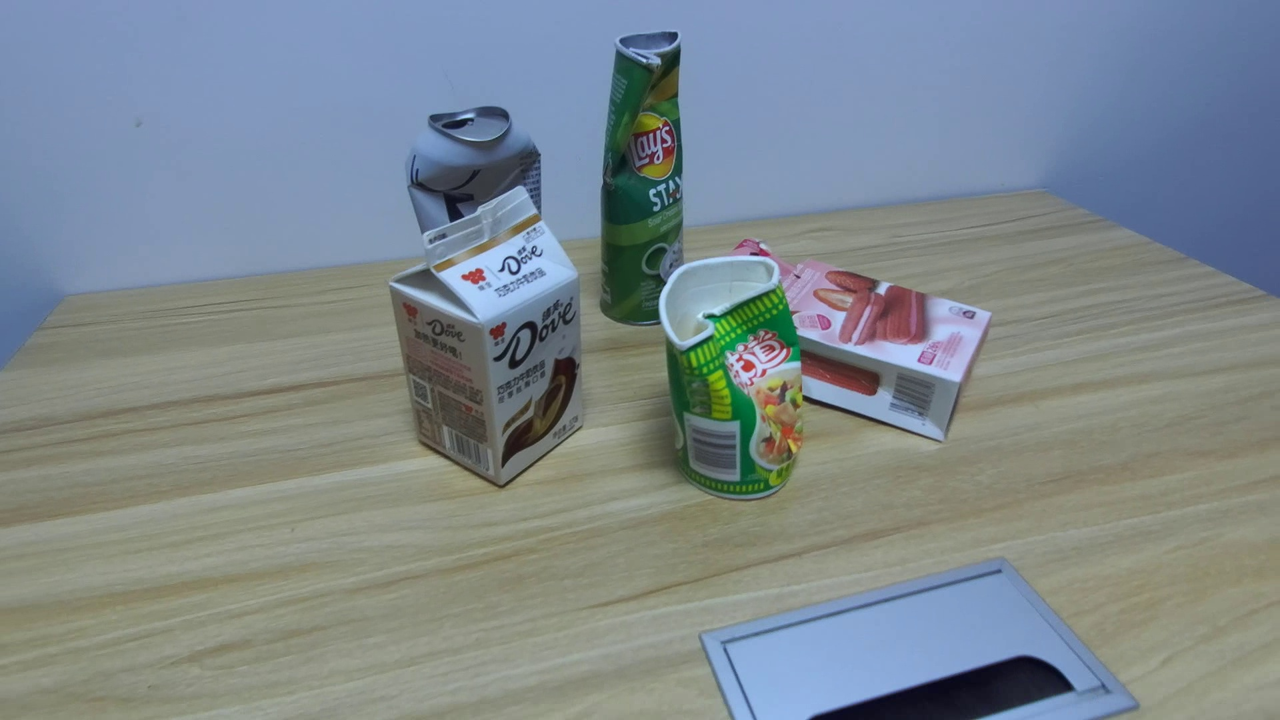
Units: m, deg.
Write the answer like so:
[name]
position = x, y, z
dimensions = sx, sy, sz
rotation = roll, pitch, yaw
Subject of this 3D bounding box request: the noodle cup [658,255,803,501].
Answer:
[noodle cup]
position = 0.053, 0.011, 0.381
dimensions = 0.083, 0.122, 0.075
rotation = -21, 29, -13

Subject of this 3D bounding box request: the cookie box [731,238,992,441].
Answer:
[cookie box]
position = 0.130, -0.017, 0.482
dimensions = 0.185, 0.059, 0.105
rotation = 23, 43, 25

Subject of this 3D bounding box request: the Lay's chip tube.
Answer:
[Lay's chip tube]
position = 0.002, -0.127, 0.514
dimensions = 0.069, 0.201, 0.077
rotation = -6, 35, -9

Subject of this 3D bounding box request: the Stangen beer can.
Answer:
[Stangen beer can]
position = -0.109, -0.088, 0.491
dimensions = 0.065, 0.162, 0.077
rotation = 12, 38, 16

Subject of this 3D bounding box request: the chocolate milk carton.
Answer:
[chocolate milk carton]
position = -0.083, -0.017, 0.395
dimensions = 0.073, 0.148, 0.075
rotation = 22, 38, 29
